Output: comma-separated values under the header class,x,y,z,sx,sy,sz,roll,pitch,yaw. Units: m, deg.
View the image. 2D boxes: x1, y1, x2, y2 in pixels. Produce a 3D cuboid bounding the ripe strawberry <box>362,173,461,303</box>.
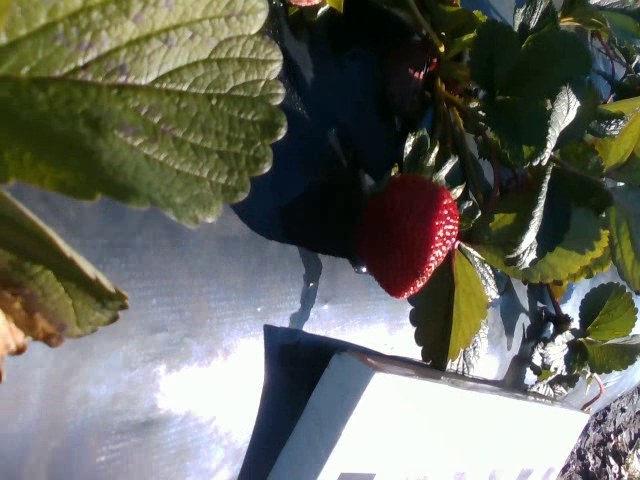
class,x,y,z,sx,sy,sz,roll,pitch,yaw
ripe strawberry,0.031,0.000,0.223,0.058,0.066,0.062,-12,38,-6
